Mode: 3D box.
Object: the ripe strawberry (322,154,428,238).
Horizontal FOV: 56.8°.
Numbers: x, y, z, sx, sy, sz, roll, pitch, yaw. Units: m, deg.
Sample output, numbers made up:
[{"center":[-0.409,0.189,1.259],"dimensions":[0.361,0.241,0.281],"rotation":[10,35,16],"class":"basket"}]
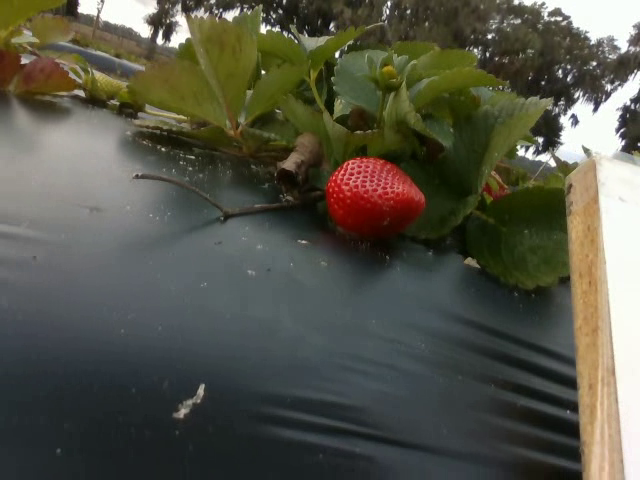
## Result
[{"center":[0.020,-0.019,0.214],"dimensions":[0.037,0.037,0.046],"rotation":[-31,25,-21],"class":"ripe strawberry"}]
